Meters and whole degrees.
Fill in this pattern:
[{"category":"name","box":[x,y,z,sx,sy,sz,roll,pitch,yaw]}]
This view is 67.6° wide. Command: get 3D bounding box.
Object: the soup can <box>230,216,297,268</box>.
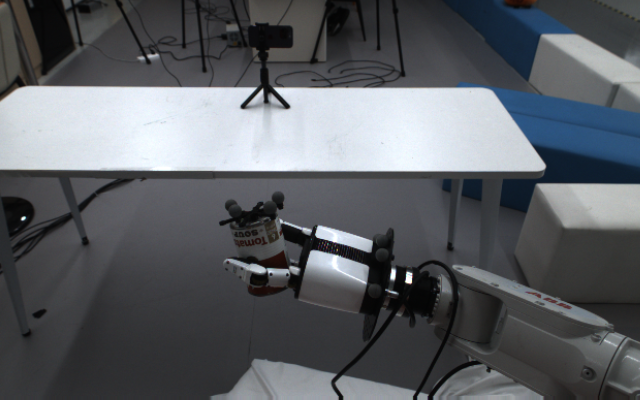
[{"category":"soup can","box":[-0.076,0.070,0.659,0.067,0.101,0.067,-12,17,4]}]
